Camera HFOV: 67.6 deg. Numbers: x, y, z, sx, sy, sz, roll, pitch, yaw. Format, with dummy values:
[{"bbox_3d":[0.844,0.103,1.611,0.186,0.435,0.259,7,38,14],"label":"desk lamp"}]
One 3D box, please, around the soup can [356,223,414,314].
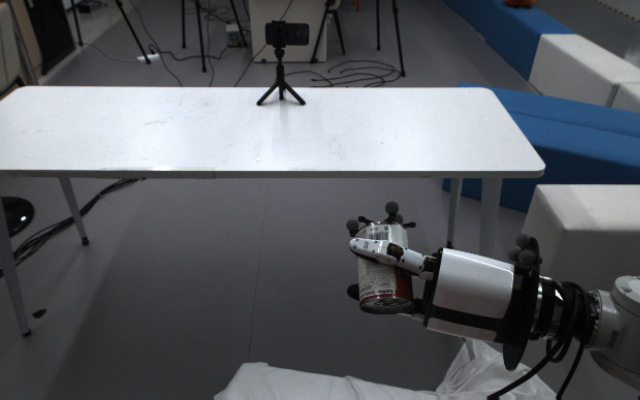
[{"bbox_3d":[0.085,0.087,0.614,0.067,0.067,0.101,0,62,-3],"label":"soup can"}]
